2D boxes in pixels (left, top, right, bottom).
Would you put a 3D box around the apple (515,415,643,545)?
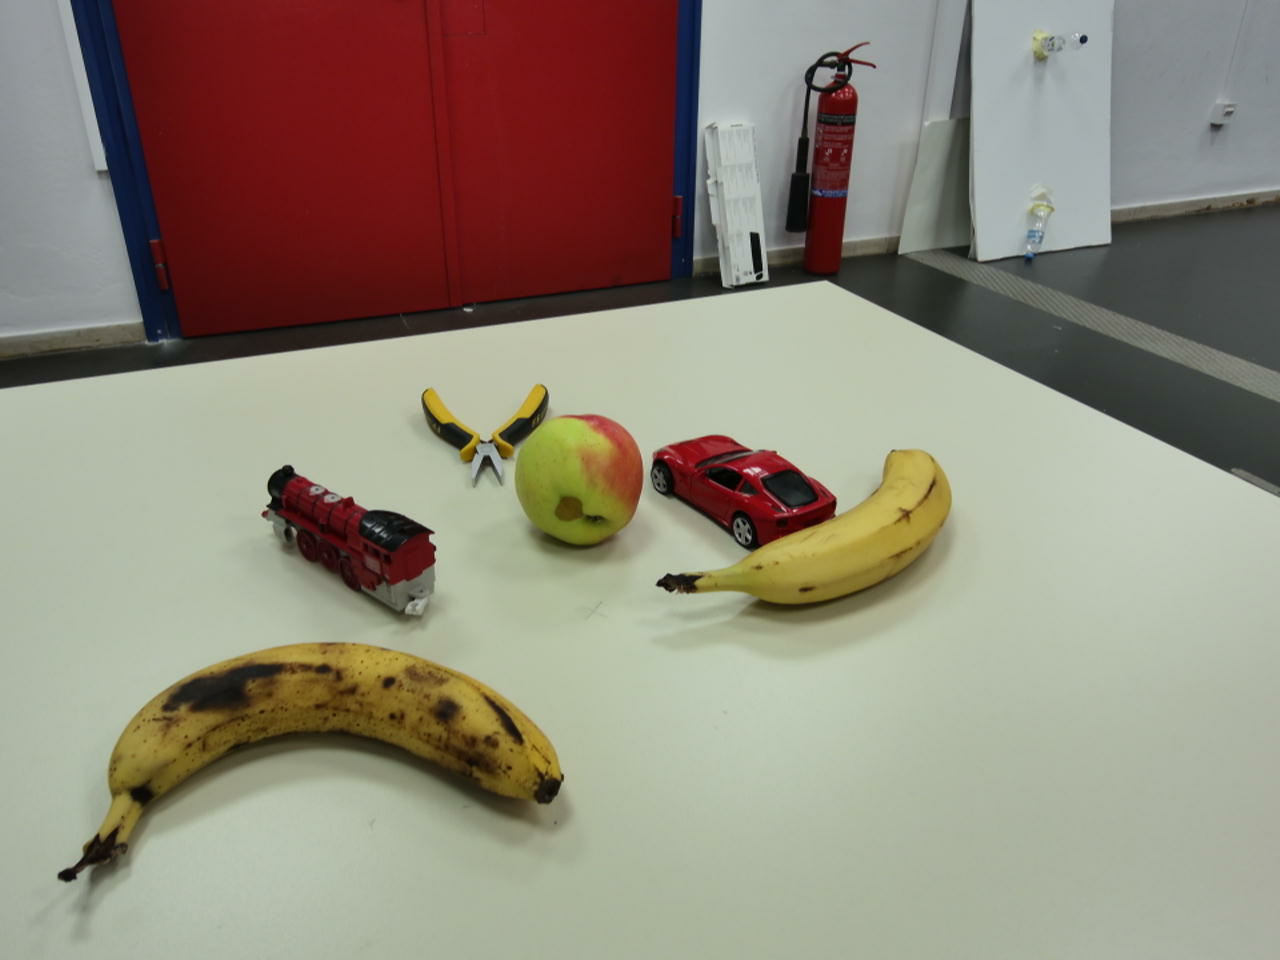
[{"bbox_3d":[-0.034,-0.002,0.579,0.075,0.074,0.075,-22,34,-39],"label":"apple"}]
